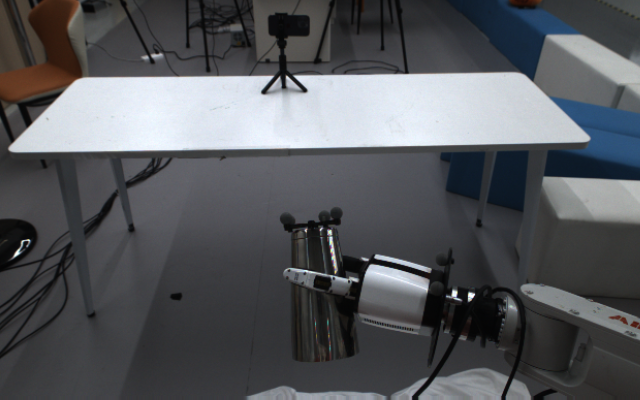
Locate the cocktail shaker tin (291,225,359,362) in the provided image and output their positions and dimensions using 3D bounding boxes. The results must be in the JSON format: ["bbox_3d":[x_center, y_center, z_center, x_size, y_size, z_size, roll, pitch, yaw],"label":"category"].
[{"bbox_3d":[0.000,0.126,0.668,0.093,0.170,0.093,-6,-7,-1],"label":"cocktail shaker tin"}]
